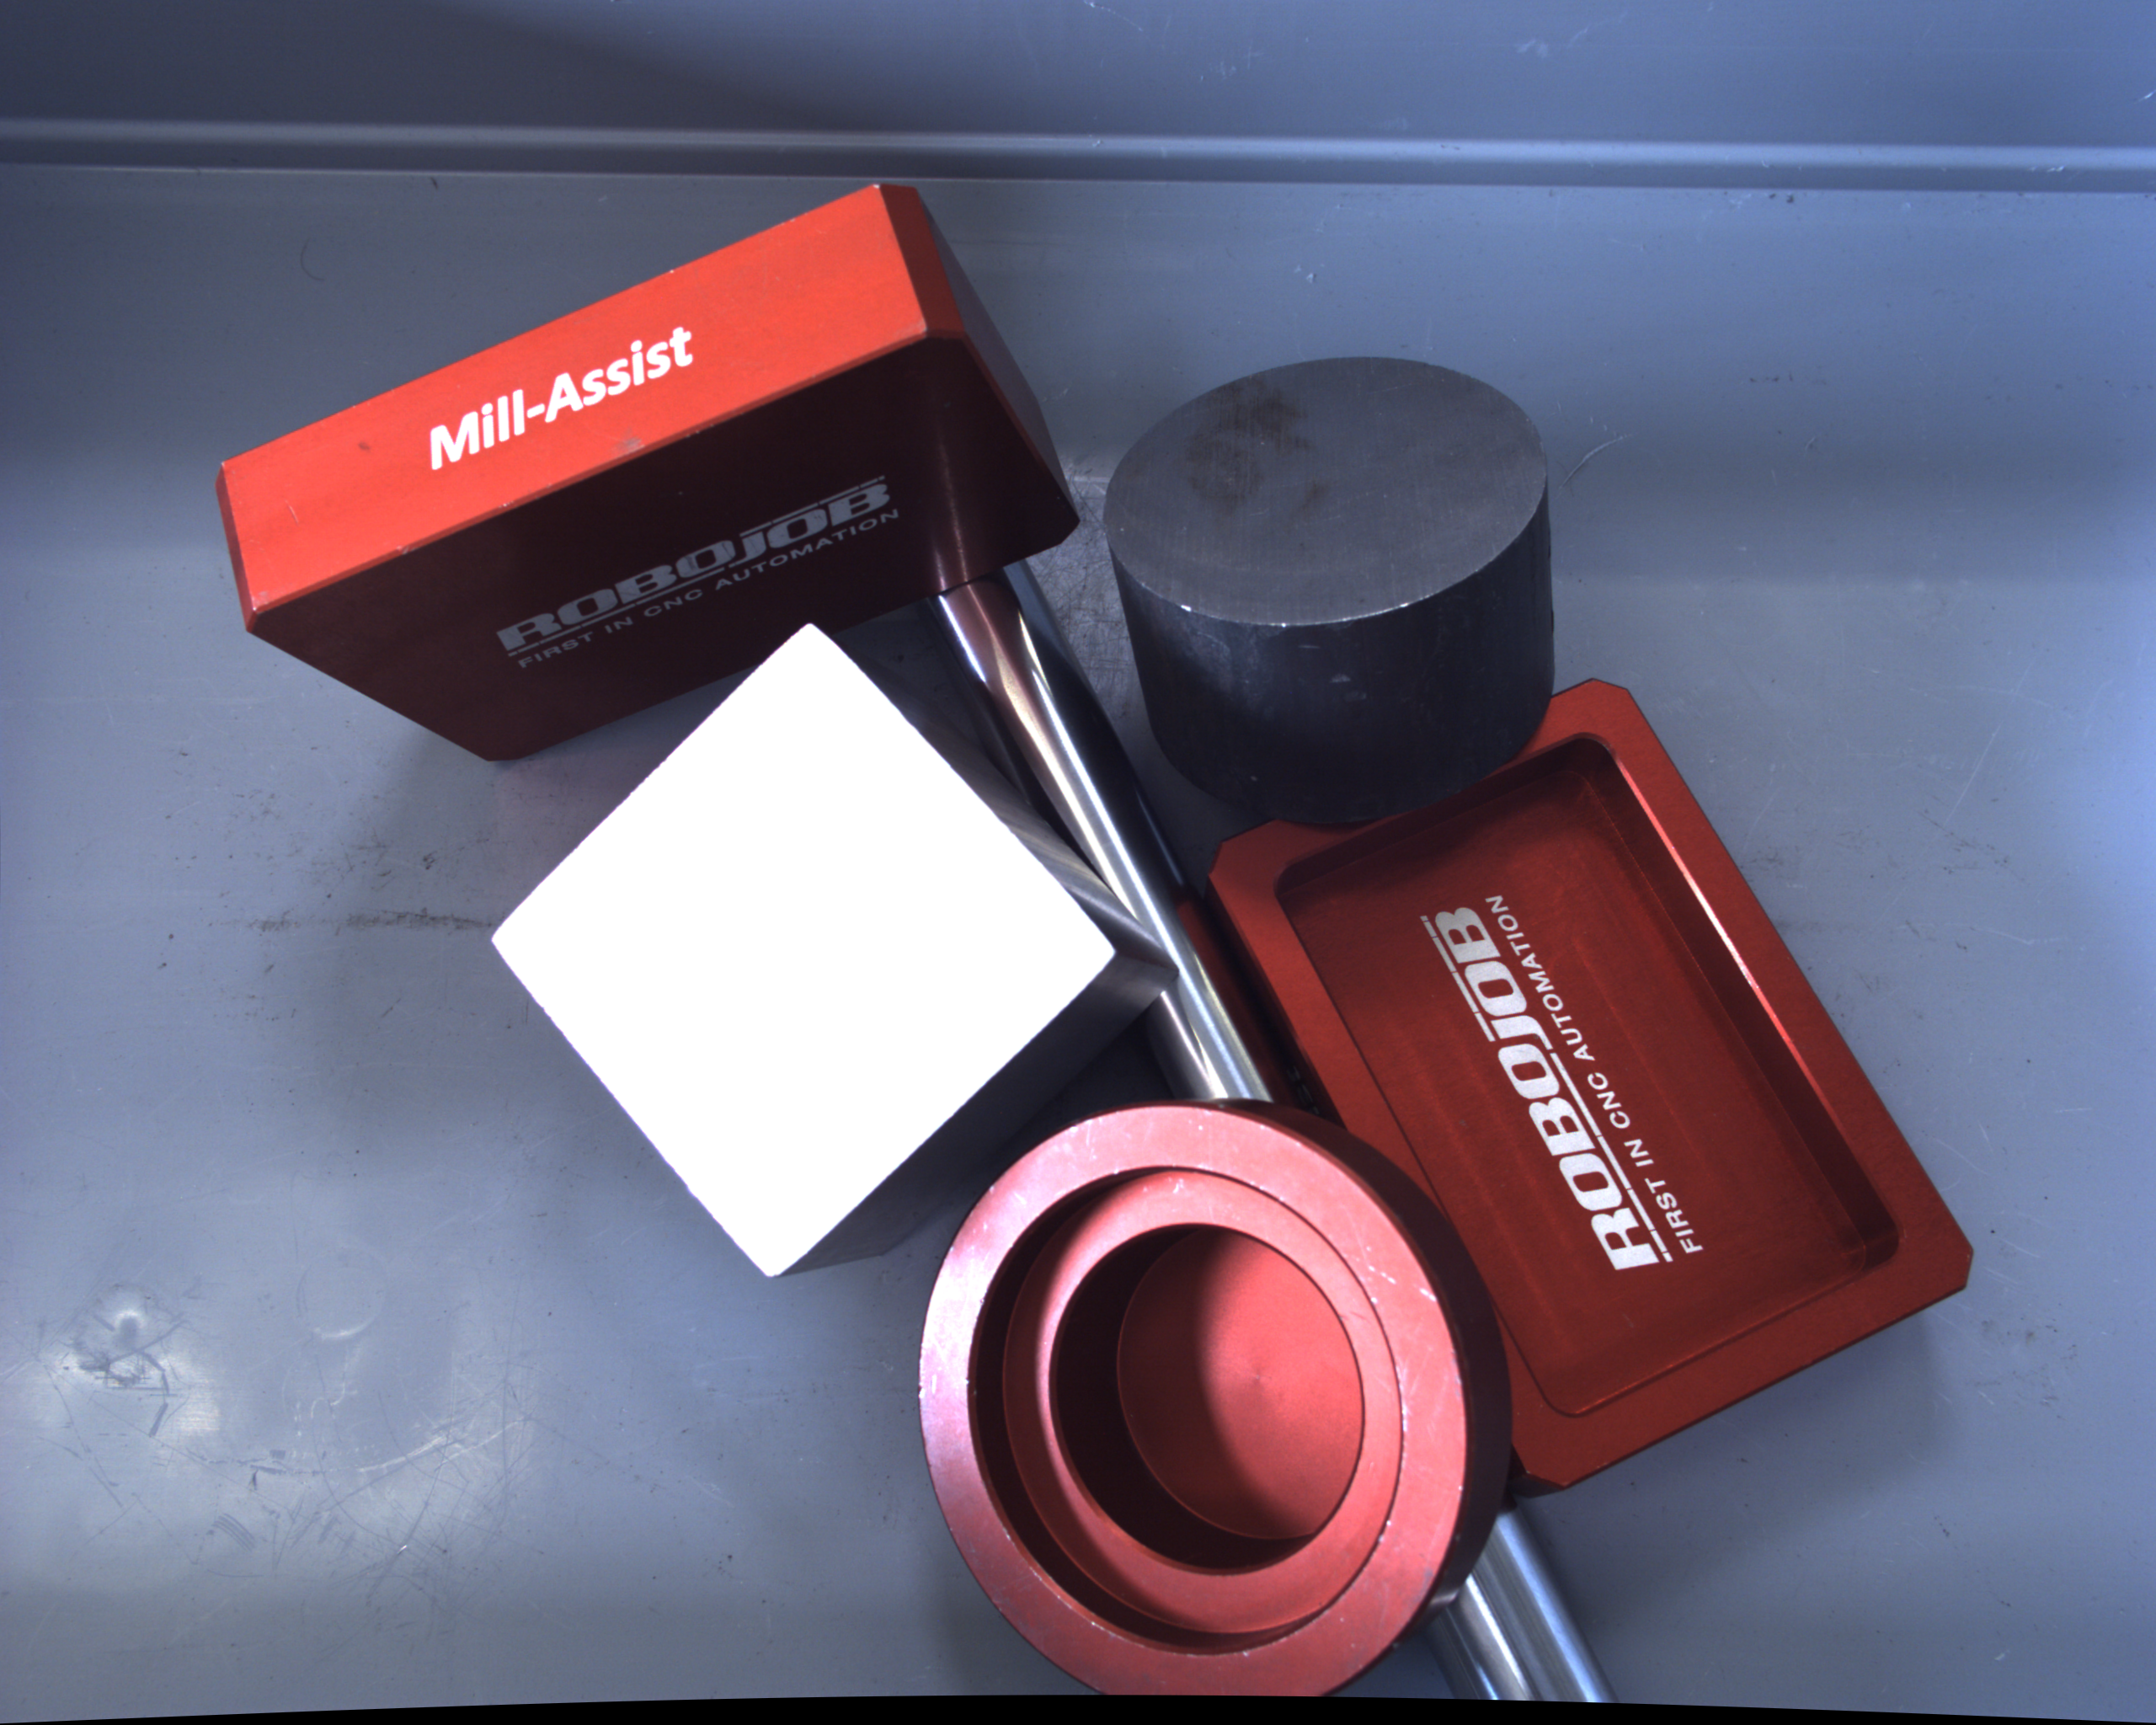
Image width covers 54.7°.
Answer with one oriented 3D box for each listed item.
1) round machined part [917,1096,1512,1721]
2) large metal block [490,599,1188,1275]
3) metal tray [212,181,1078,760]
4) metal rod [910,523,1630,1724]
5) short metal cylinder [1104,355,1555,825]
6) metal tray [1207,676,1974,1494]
[{"bbox_3d":[0.025,0.088,0.352,0.098,0.042,0.097,-3,84,28],"label":"round machined part"},{"bbox_3d":[-0.040,0.014,0.370,0.080,0.050,0.080,-45,76,4],"label":"large metal block"},{"bbox_3d":[-0.074,-0.066,0.382,0.130,0.090,0.030,-21,73,8],"label":"metal tray"},{"bbox_3d":[0.020,0.028,0.397,0.025,0.025,0.299,-24,72,-8],"label":"metal rod"},{"bbox_3d":[0.049,-0.053,0.399,0.080,0.050,0.080,-7,46,8],"label":"short metal cylinder"},{"bbox_3d":[0.091,0.040,0.391,0.091,0.030,0.130,-24,72,-9],"label":"metal tray"}]
